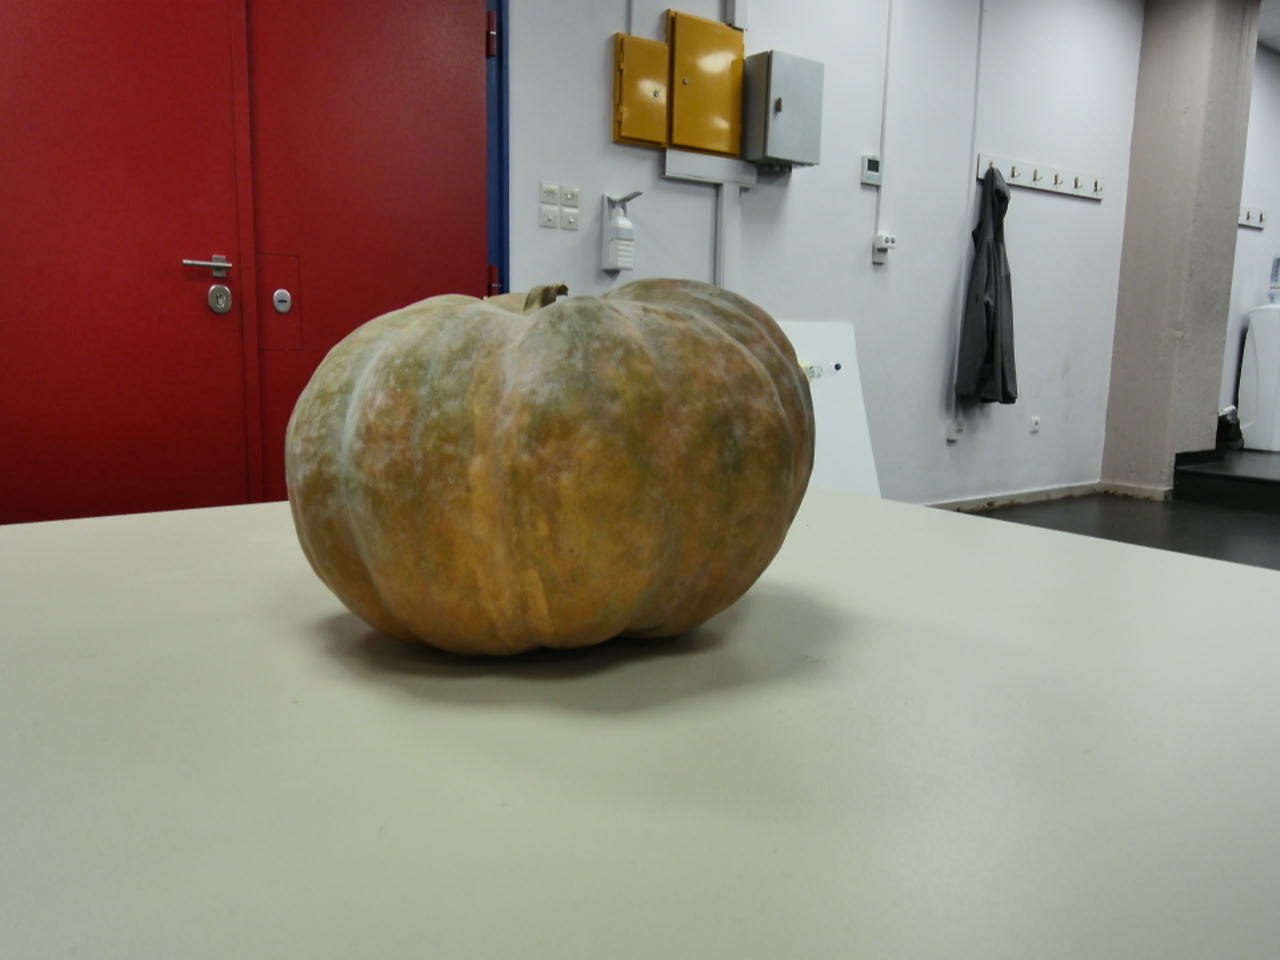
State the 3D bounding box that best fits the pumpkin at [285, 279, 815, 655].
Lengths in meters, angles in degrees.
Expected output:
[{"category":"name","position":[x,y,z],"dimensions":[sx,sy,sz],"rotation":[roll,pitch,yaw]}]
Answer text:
[{"category":"pumpkin","position":[-0.043,-0.012,0.478],"dimensions":[0.252,0.168,0.252],"rotation":[1,6,0]}]
